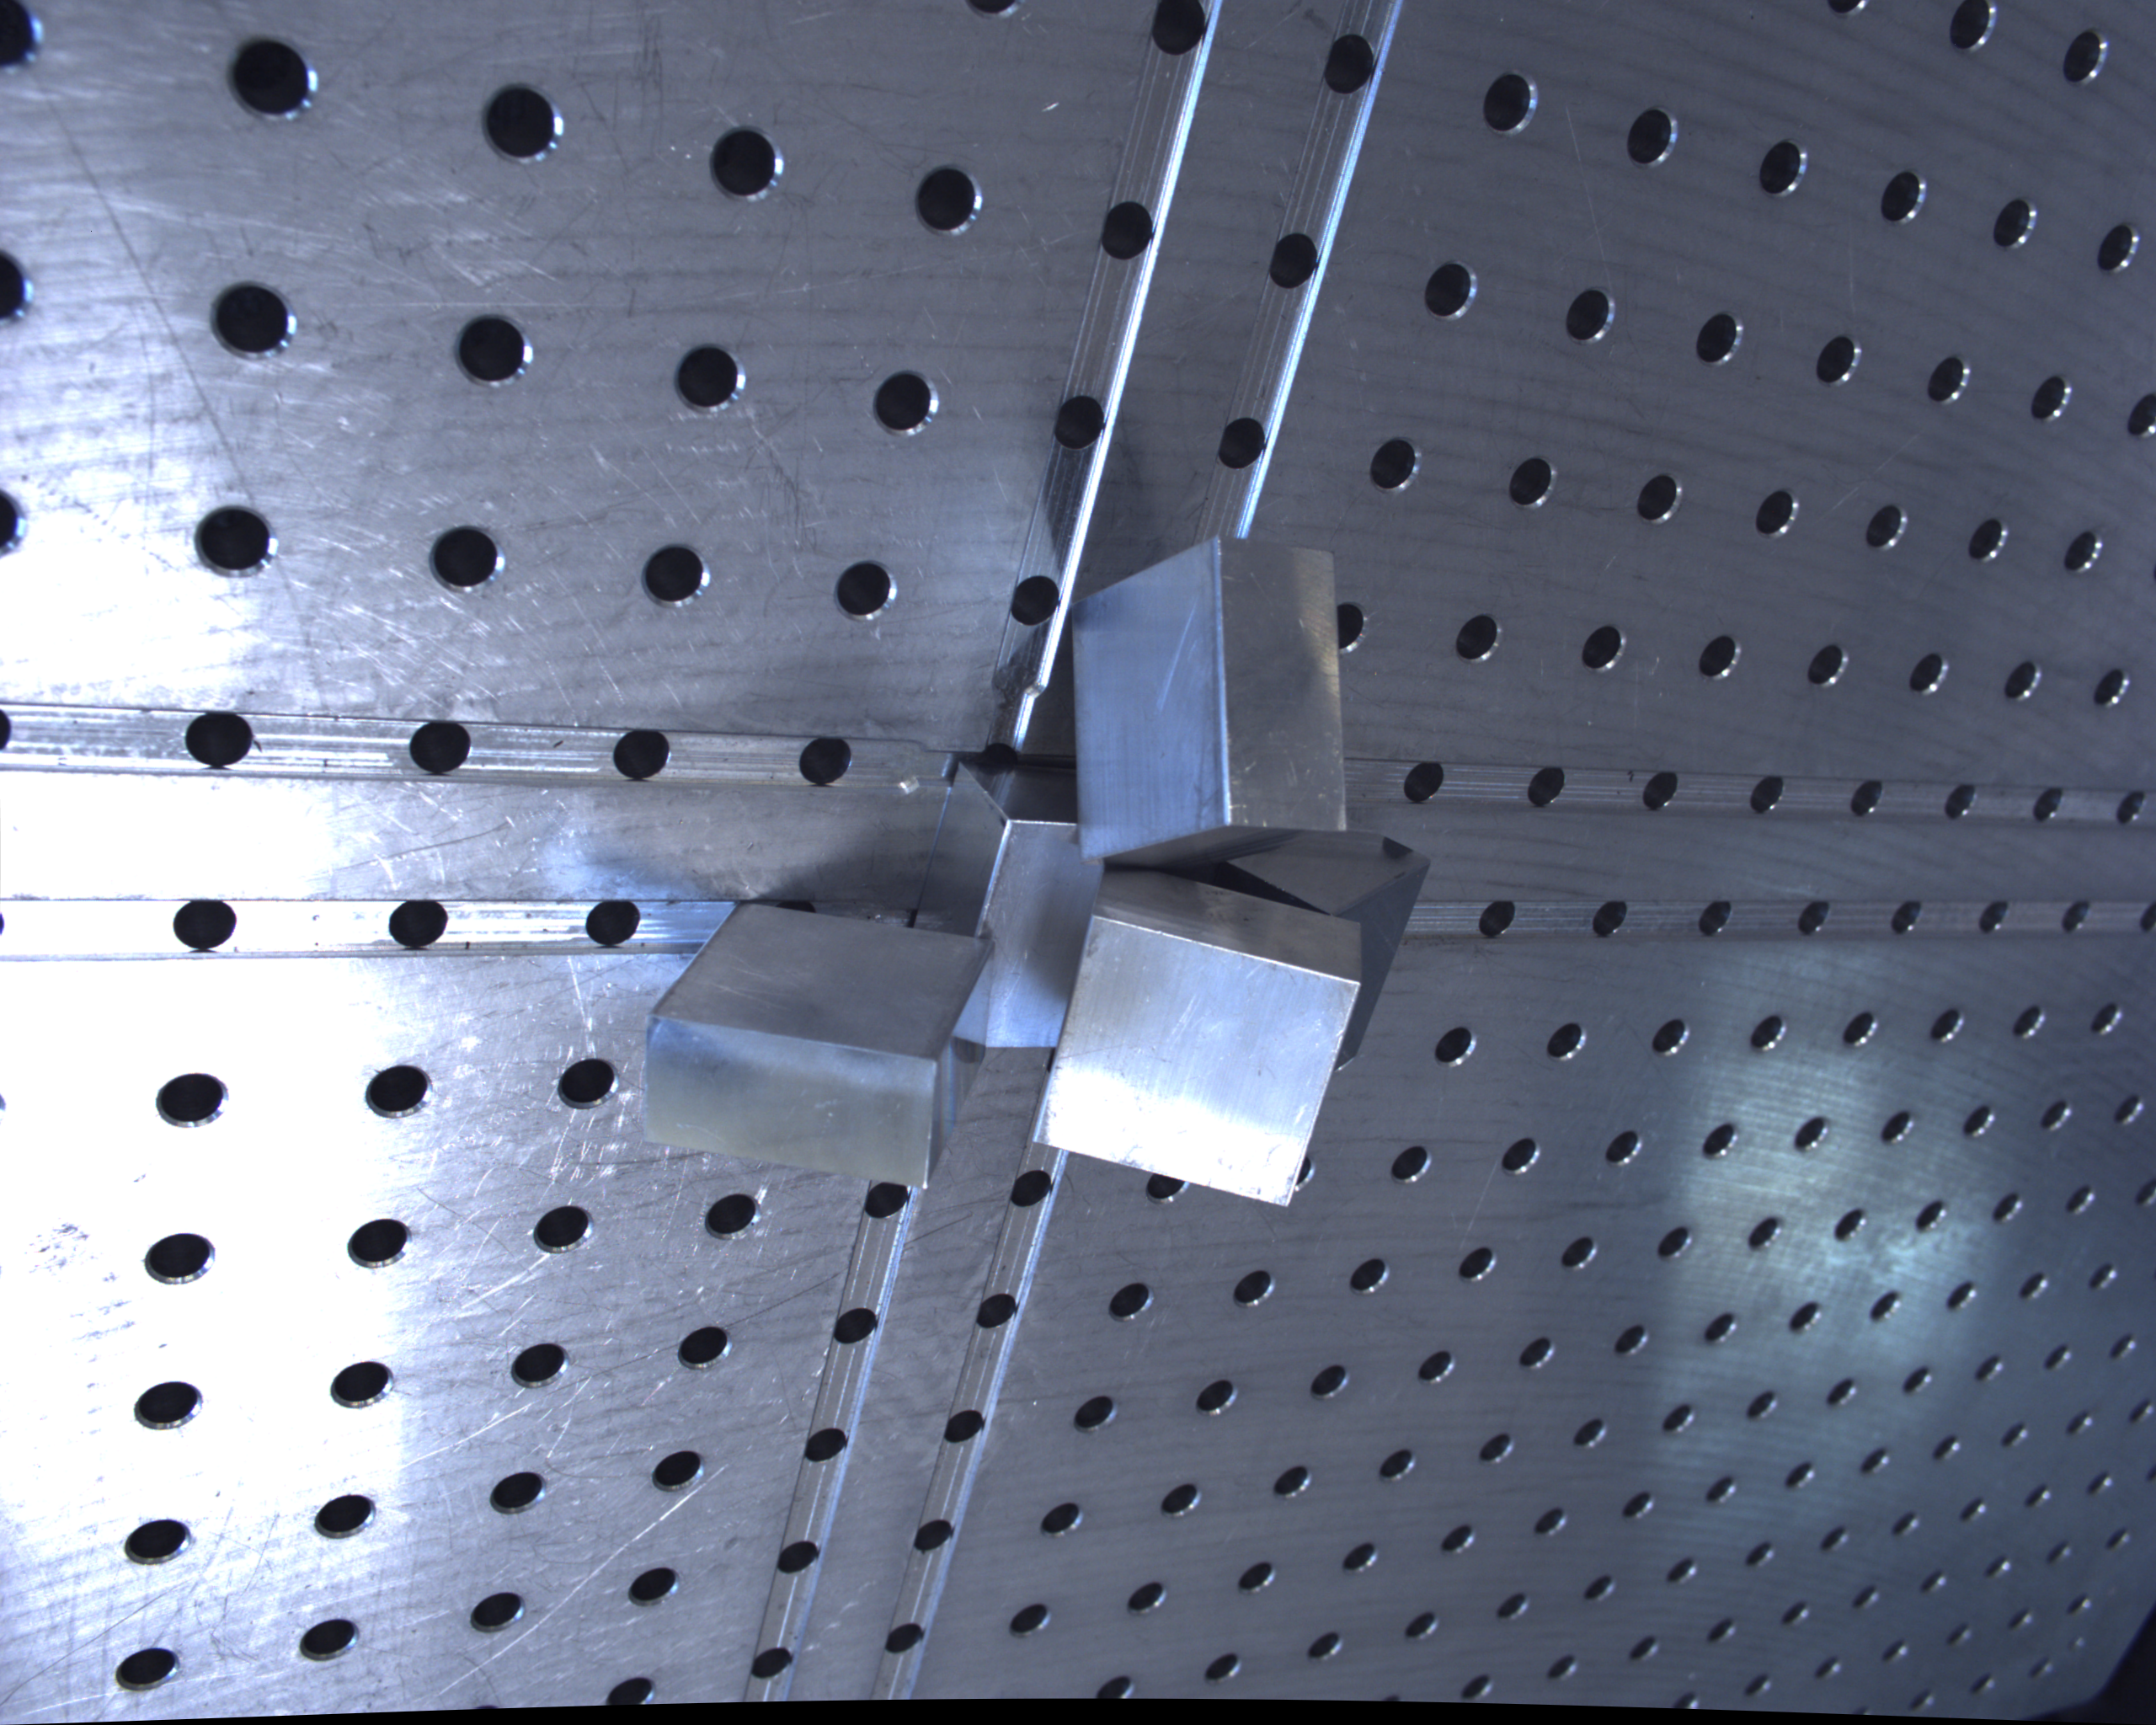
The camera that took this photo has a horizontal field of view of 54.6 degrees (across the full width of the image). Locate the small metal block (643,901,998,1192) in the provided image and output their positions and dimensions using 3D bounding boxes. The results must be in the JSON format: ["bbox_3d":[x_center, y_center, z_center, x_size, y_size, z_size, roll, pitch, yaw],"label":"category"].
[{"bbox_3d":[-0.045,0.032,0.376,0.050,0.050,0.025,9,113,6],"label":"small metal block"}]

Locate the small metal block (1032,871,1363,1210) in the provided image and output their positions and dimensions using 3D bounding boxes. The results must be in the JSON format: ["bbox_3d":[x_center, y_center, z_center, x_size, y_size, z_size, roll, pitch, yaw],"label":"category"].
[{"bbox_3d":[0.023,0.032,0.395,0.050,0.025,0.050,14,115,1],"label":"small metal block"}]

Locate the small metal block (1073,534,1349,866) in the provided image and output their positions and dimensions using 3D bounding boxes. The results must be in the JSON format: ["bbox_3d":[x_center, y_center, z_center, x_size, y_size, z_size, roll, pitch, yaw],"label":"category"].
[{"bbox_3d":[0.023,-0.027,0.377,0.025,0.050,0.050,3,81,-29],"label":"small metal block"}]

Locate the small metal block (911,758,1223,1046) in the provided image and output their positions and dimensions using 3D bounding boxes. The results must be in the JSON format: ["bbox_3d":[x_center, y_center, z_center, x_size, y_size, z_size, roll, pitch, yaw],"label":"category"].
[{"bbox_3d":[-0.003,0.009,0.414,0.050,0.025,0.050,2,117,-29],"label":"small metal block"}]

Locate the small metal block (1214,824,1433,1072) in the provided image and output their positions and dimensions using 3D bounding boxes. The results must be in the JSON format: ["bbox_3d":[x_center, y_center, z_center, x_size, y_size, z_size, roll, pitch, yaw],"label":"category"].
[{"bbox_3d":[0.045,0.021,0.434,0.050,0.025,0.050,-22,134,-55],"label":"small metal block"}]
